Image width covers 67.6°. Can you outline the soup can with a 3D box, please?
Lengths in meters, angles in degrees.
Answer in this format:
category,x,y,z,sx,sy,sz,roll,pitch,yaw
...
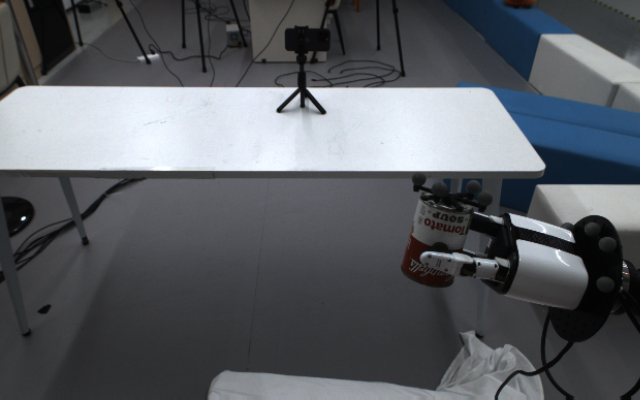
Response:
category,x,y,z,sx,sy,sz,roll,pitch,yaw
soup can,0.146,0.045,0.598,0.067,0.101,0.067,9,20,-3
